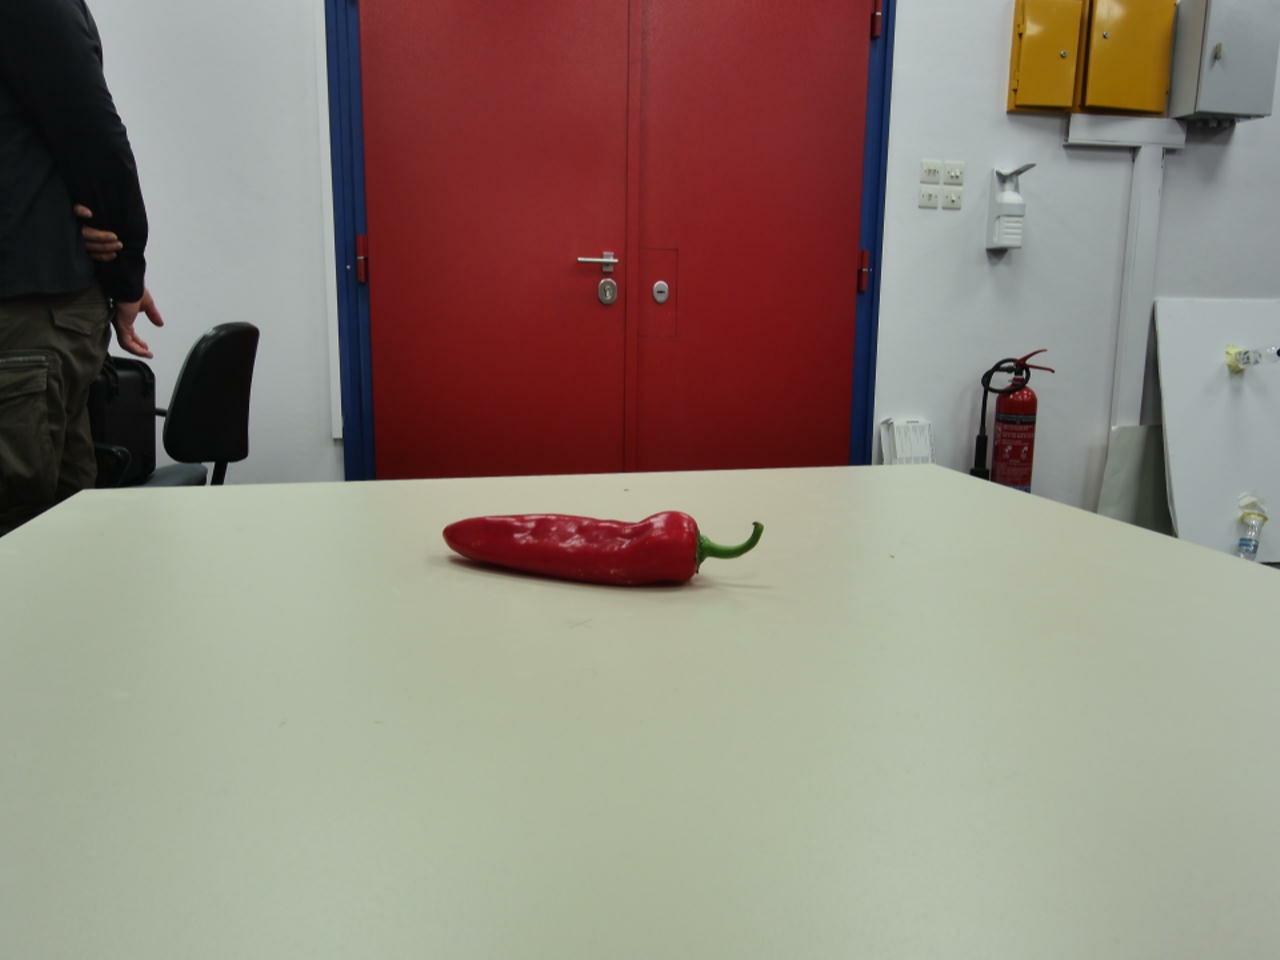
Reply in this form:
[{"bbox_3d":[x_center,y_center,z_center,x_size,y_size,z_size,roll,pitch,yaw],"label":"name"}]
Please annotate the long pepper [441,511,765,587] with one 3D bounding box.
[{"bbox_3d":[-0.032,0.038,0.607,0.211,0.043,0.050,2,8,19],"label":"long pepper"}]
